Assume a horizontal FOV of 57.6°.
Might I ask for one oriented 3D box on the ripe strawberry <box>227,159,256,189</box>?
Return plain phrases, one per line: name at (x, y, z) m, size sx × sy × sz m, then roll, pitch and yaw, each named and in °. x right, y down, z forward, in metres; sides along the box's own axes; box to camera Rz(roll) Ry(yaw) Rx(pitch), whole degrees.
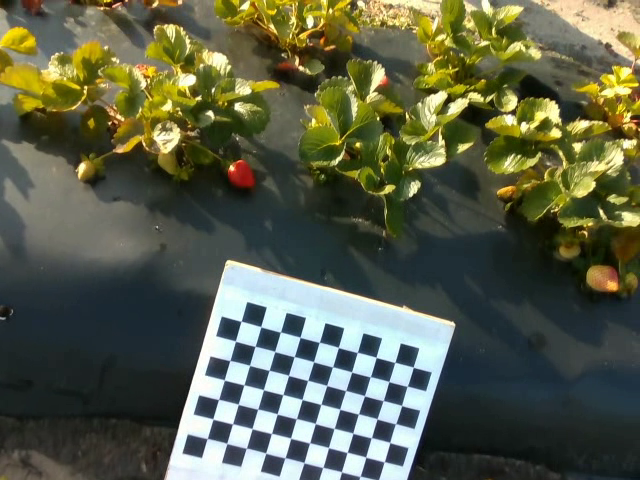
ripe strawberry at (-0.087, -0.075, 0.667) m, size 0.045 × 0.030 × 0.033 m, roll 48°, pitch 5°, yaw 23°
